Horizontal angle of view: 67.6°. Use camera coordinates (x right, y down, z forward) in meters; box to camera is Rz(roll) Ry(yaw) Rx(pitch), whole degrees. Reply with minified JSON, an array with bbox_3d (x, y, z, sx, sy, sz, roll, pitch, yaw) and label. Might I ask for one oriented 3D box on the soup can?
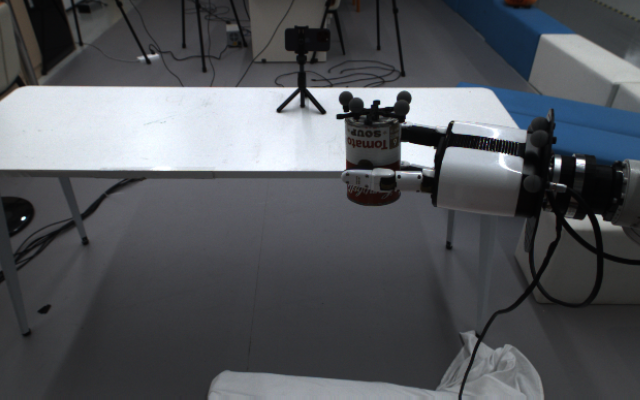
[{"bbox_3d":[0.066,-0.054,0.587,0.067,0.101,0.067,-3,27,2],"label":"soup can"}]
